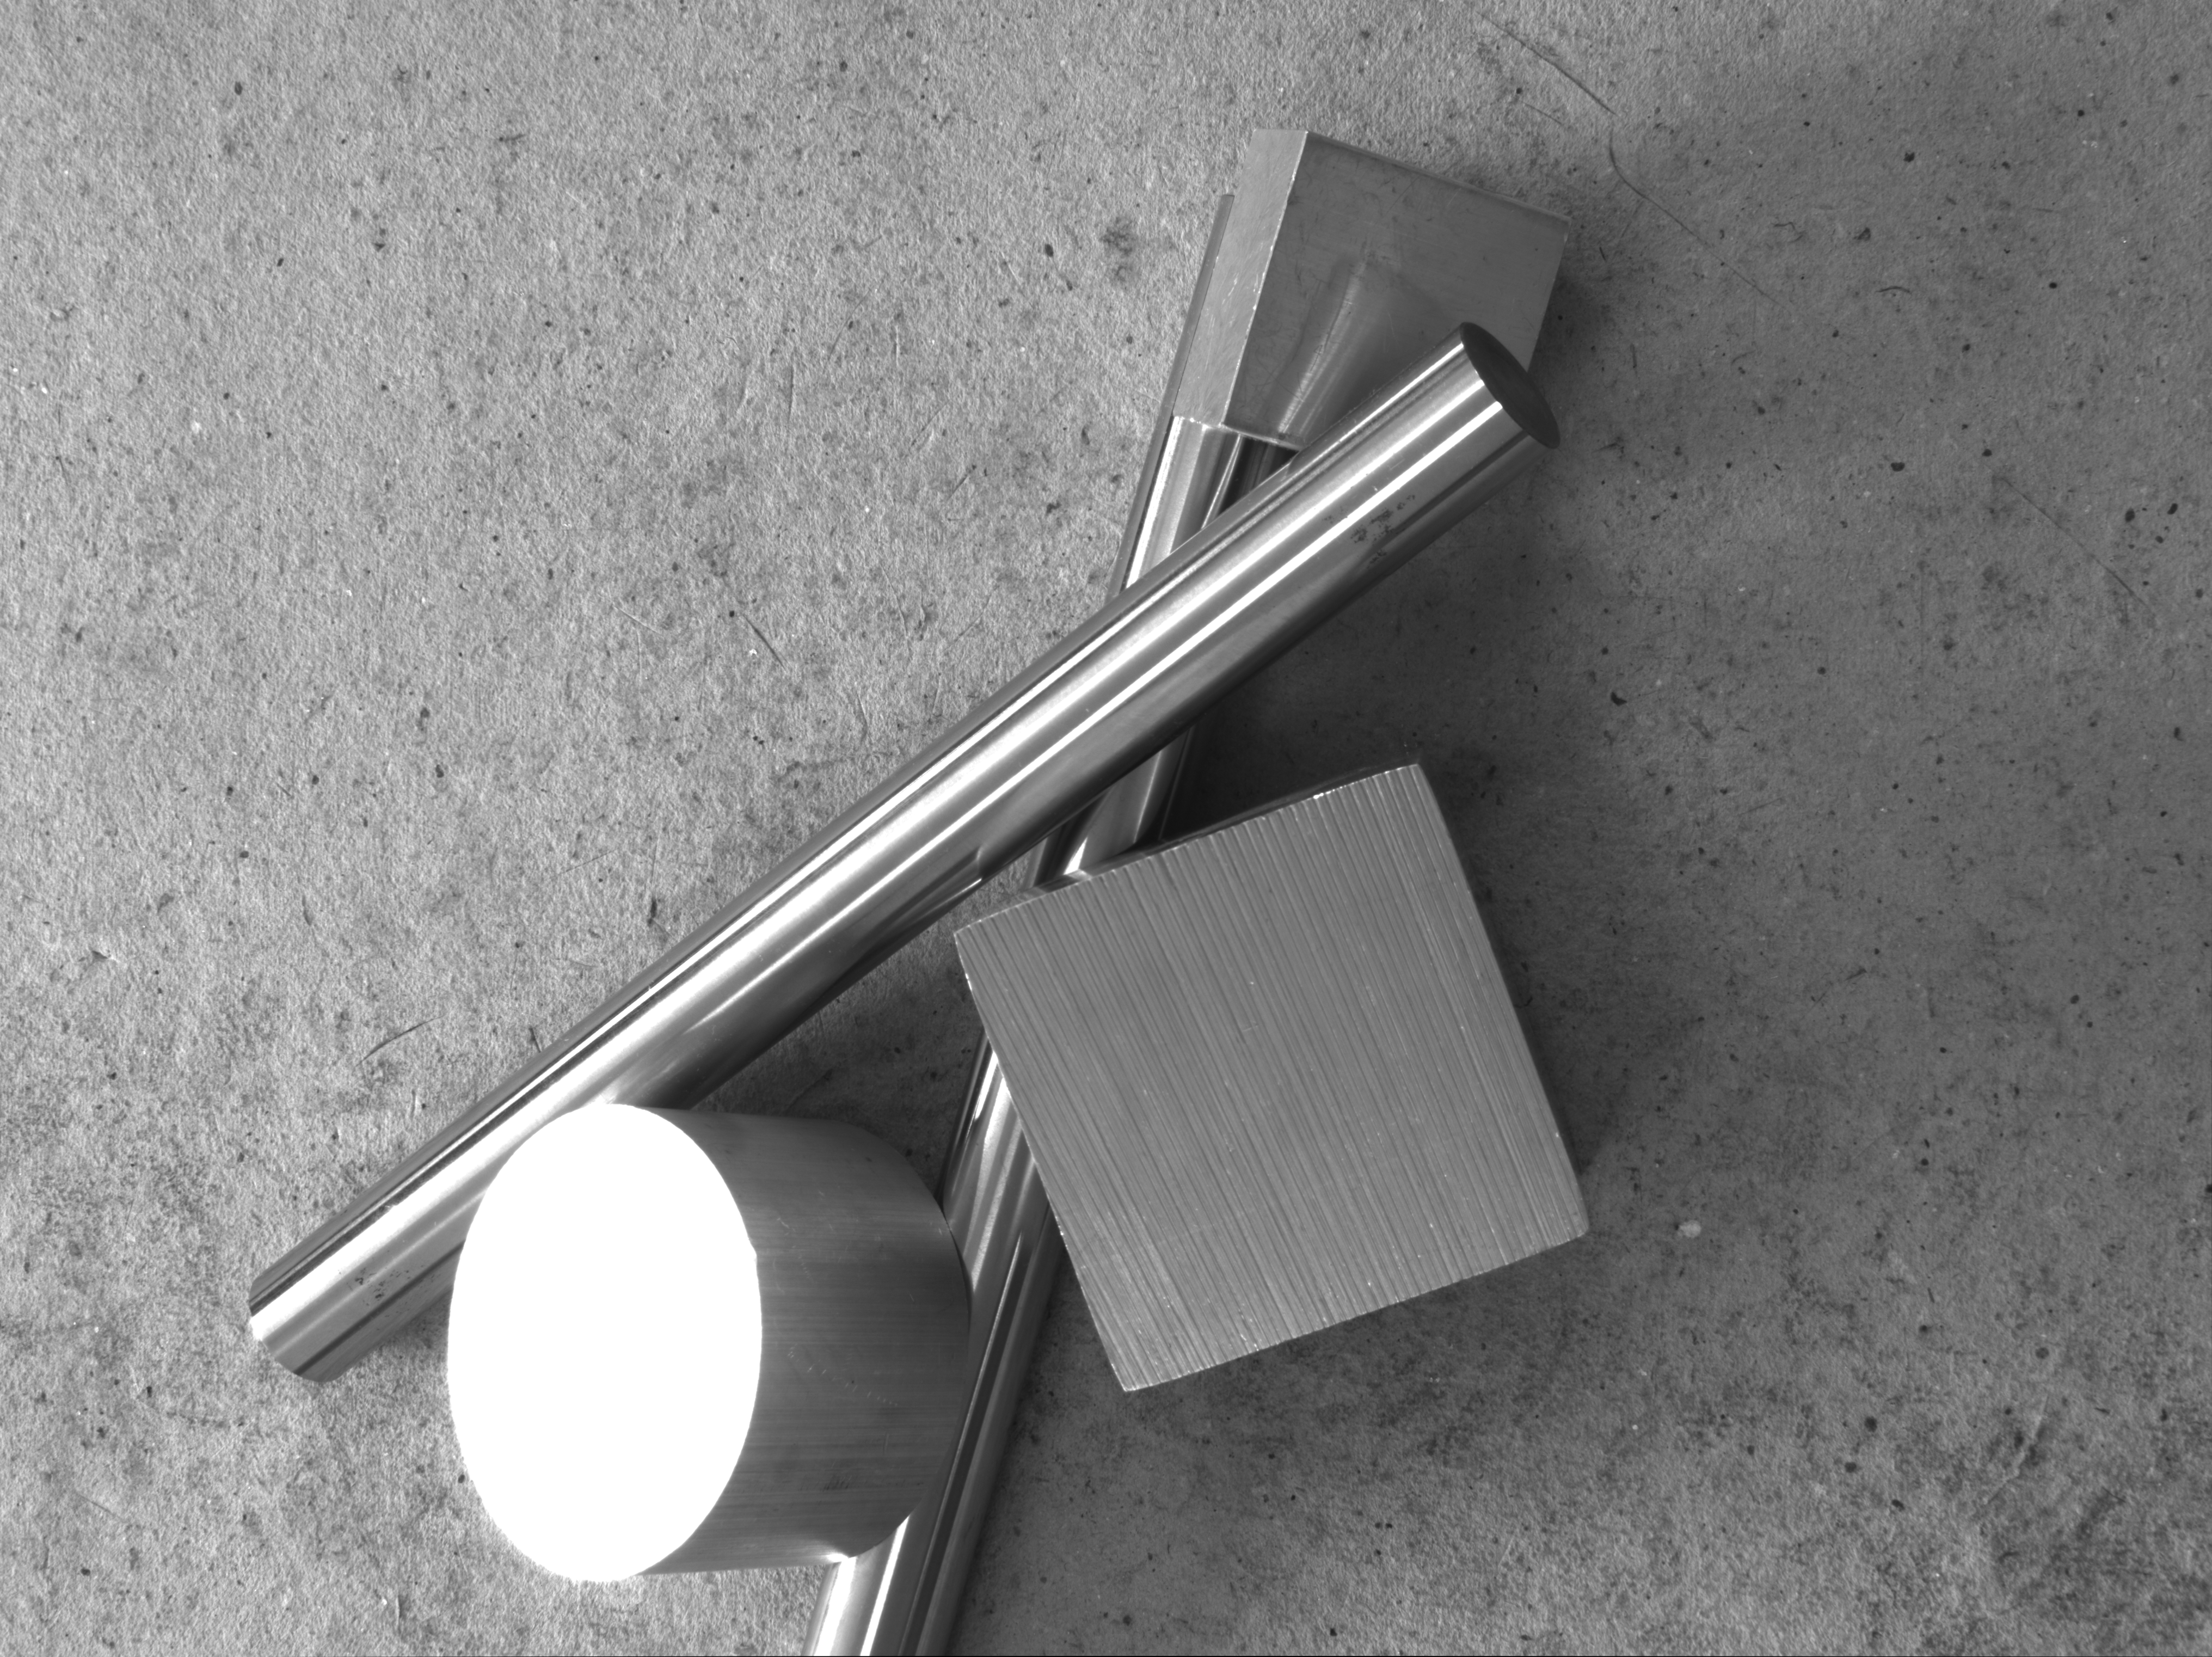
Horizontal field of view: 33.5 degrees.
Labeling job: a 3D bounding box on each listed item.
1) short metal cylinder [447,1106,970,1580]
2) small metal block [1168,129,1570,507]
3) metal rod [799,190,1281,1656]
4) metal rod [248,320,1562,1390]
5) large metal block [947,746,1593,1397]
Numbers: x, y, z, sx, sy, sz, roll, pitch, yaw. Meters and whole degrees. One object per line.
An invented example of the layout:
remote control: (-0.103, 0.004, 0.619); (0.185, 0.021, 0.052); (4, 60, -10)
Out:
short metal cylinder: (-0.070, 0.090, 0.646); (0.080, 0.050, 0.080); (-7, 79, 40)
small metal block: (0.044, -0.086, 0.618); (0.050, 0.025, 0.050); (14, 96, -20)
metal rod: (-0.010, 0.037, 0.650); (0.025, 0.025, 0.300); (18, 96, 19)
metal rod: (-0.045, 0.013, 0.645); (0.300, 0.025, 0.025); (-37, 78, 23)
large metal block: (0.028, 0.038, 0.608); (0.080, 0.050, 0.080); (-20, 92, 6)
